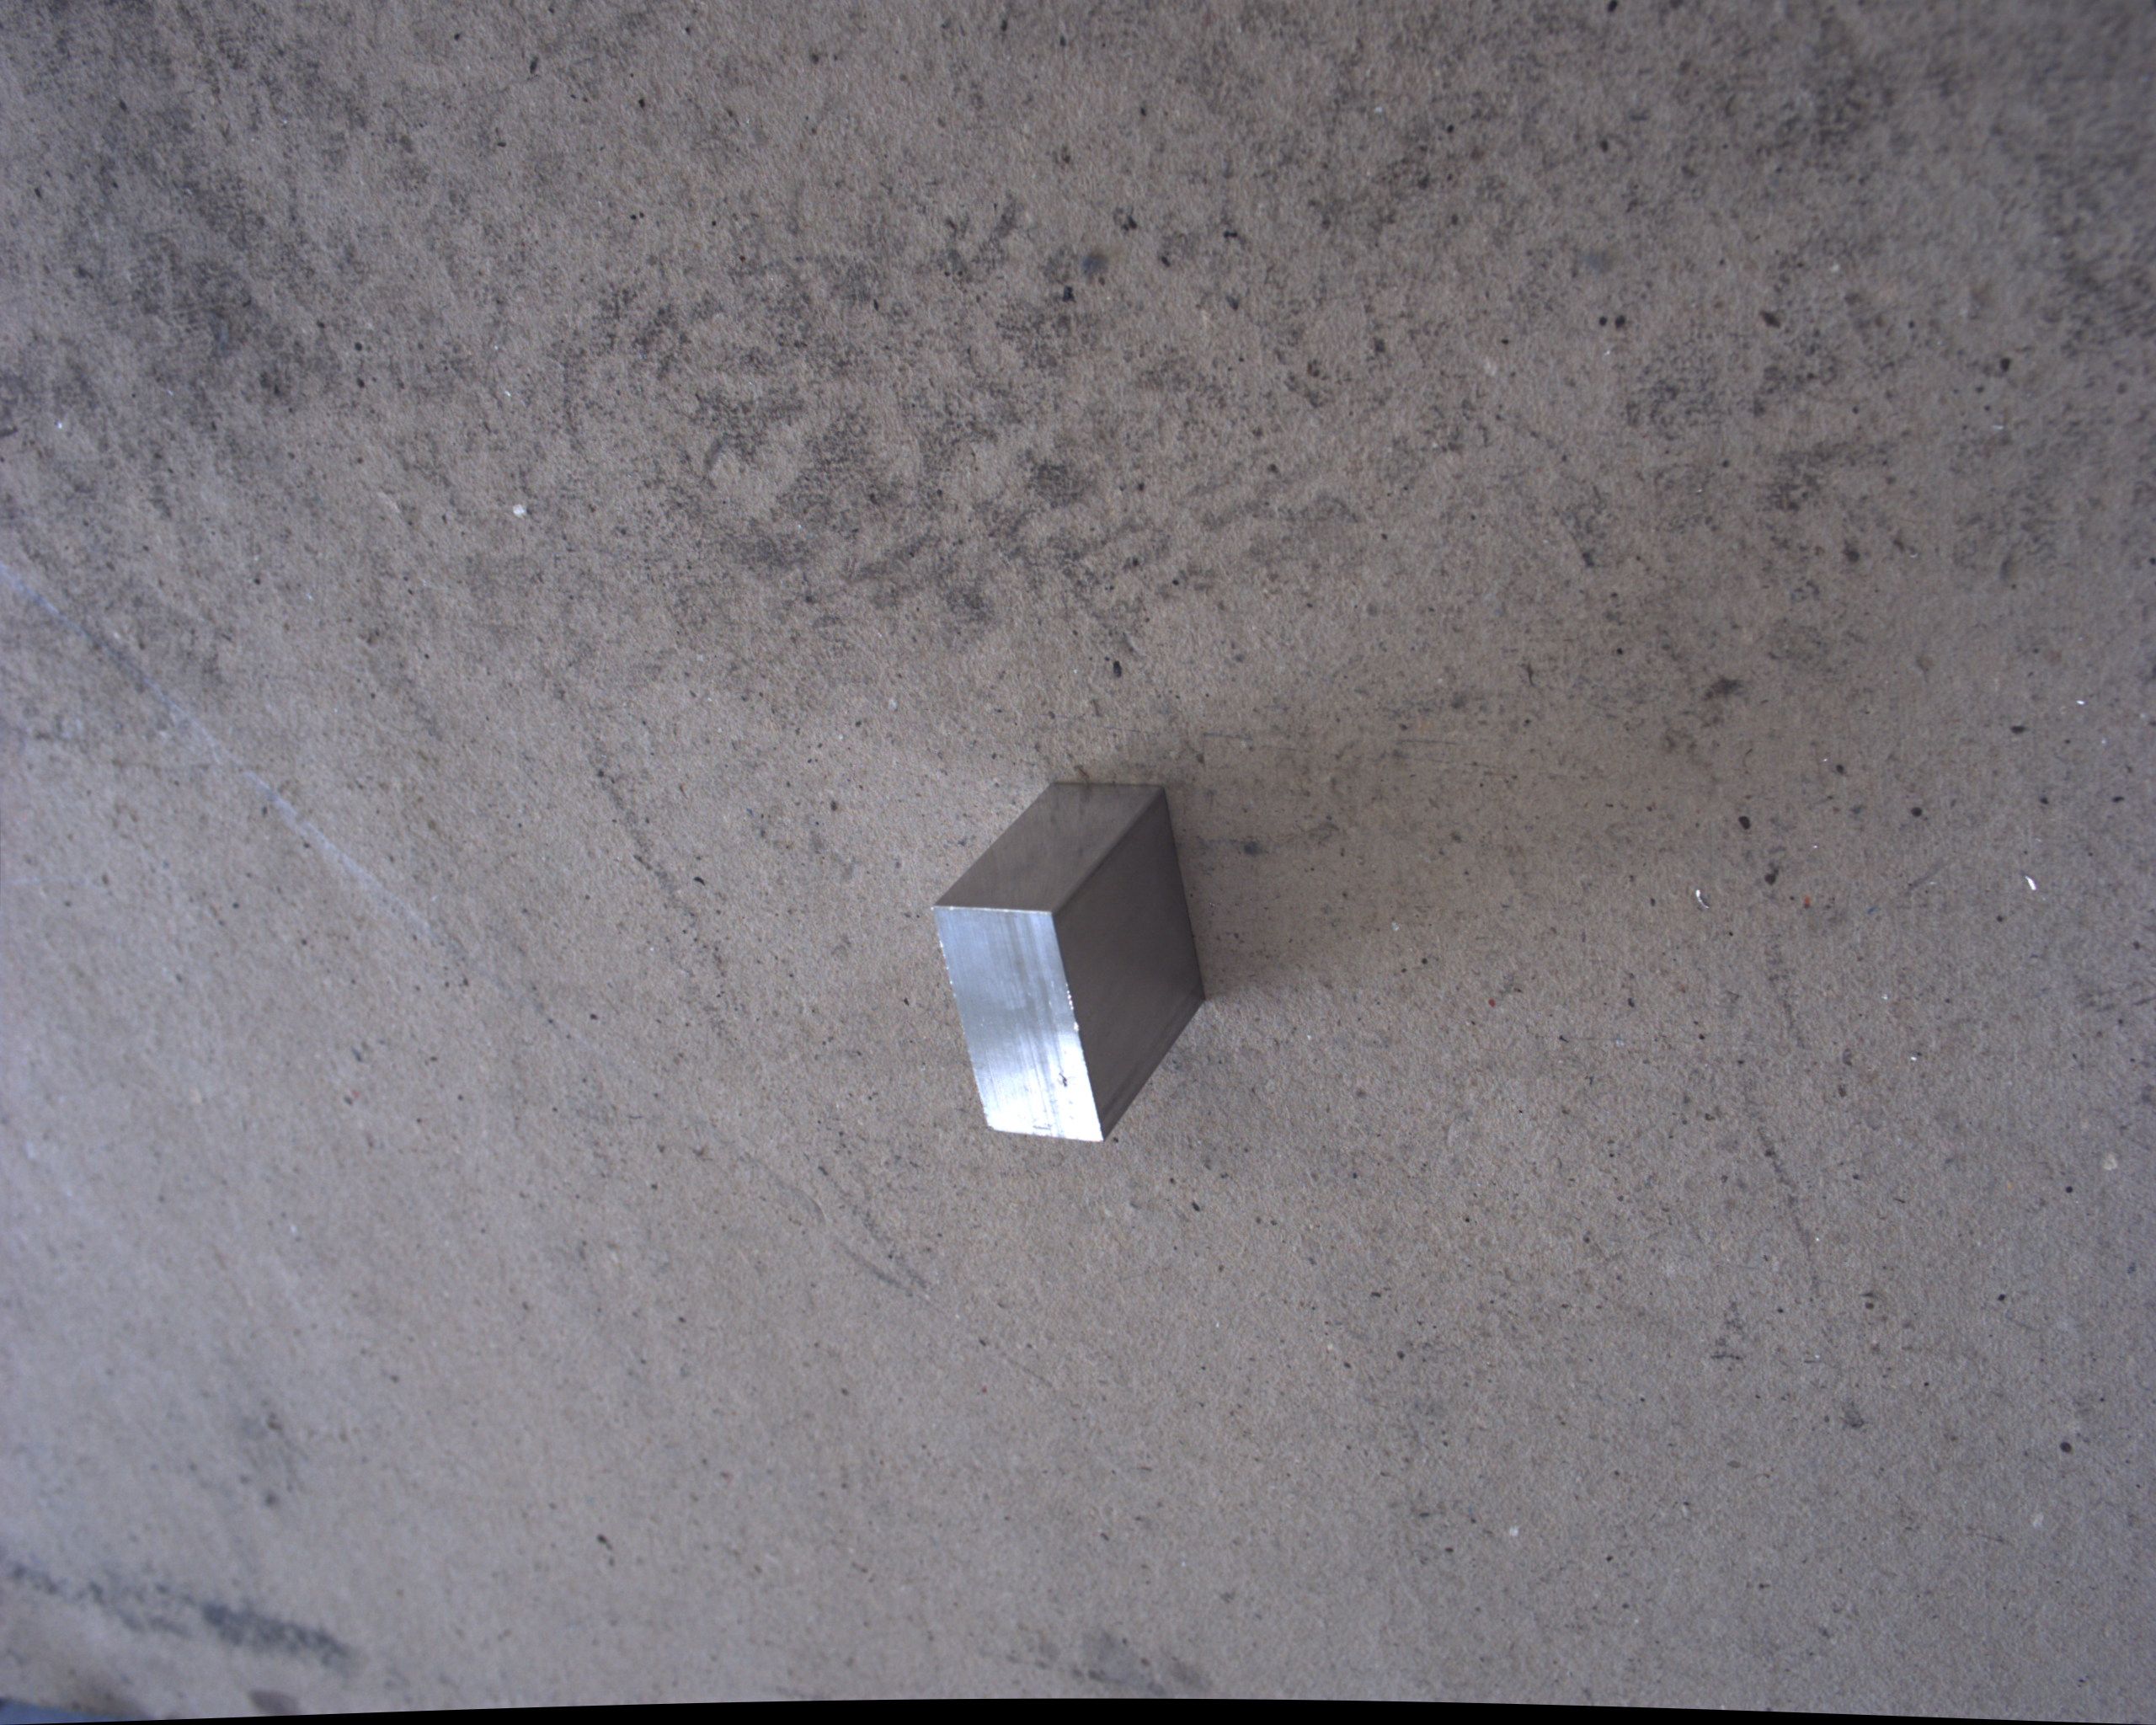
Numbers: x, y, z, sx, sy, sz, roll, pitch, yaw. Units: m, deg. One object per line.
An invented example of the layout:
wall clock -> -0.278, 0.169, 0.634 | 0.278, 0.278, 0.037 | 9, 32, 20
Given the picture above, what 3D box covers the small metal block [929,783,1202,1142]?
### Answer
small metal block -> -0.001, 0.018, 0.404 | 0.025, 0.050, 0.050 | 2, 119, 27
